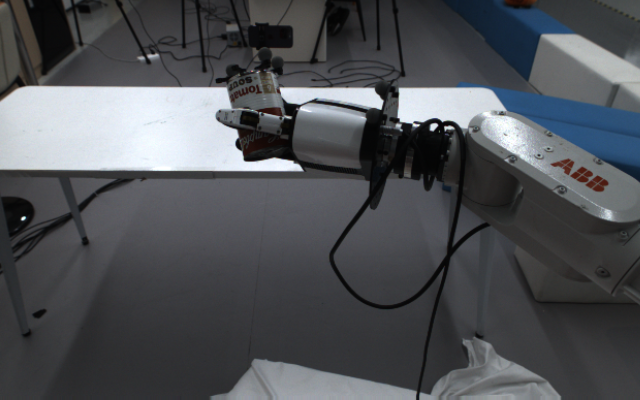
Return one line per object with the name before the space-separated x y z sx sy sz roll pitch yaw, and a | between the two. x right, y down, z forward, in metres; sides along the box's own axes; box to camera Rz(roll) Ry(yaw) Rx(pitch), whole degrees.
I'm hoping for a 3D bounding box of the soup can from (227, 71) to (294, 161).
soup can | -0.077 -0.107 0.625 0.067 0.101 0.067 -14 -2 -1
